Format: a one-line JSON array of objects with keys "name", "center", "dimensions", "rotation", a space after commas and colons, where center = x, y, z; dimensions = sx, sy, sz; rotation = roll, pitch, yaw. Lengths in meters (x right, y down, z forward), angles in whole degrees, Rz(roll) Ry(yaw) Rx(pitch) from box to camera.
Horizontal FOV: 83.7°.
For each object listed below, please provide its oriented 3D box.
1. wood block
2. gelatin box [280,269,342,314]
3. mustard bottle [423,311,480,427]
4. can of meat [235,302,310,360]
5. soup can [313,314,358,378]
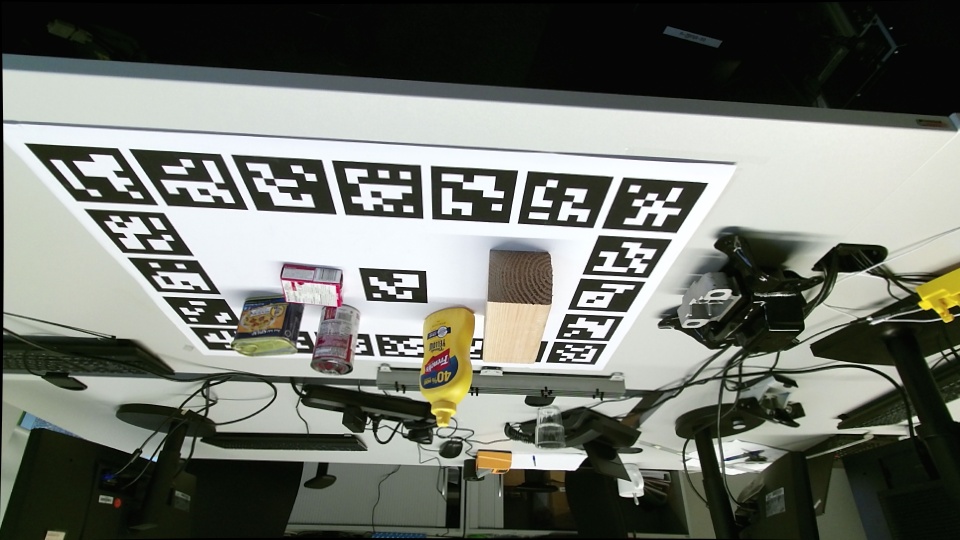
[{"name": "wood block", "center": [0.053, 0.070, 0.830], "dimensions": [0.091, 0.089, 0.206], "rotation": [4, 149, -2]}, {"name": "gelatin box", "center": [-0.261, 0.034, 0.830], "dimensions": [0.090, 0.030, 0.073], "rotation": [6, 143, -12]}, {"name": "mustard bottle", "center": [-0.052, 0.164, 0.888], "dimensions": [0.096, 0.190, 0.058], "rotation": [-12, 144, 20]}, {"name": "can of meat", "center": [-0.343, 0.103, 0.893], "dimensions": [0.102, 0.083, 0.058], "rotation": [-4, 144, 11]}, {"name": "soup can", "center": [-0.247, 0.134, 0.904], "dimensions": [0.068, 0.101, 0.068], "rotation": [0, 144, 0]}]
